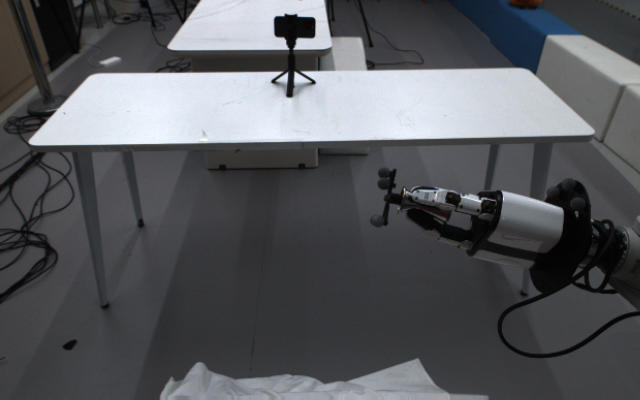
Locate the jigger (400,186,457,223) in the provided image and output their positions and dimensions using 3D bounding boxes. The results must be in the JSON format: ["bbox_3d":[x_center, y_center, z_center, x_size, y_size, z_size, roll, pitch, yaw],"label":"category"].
[{"bbox_3d":[0.152,0.003,0.674,0.071,0.043,0.043,11,35,2],"label":"jigger"}]
